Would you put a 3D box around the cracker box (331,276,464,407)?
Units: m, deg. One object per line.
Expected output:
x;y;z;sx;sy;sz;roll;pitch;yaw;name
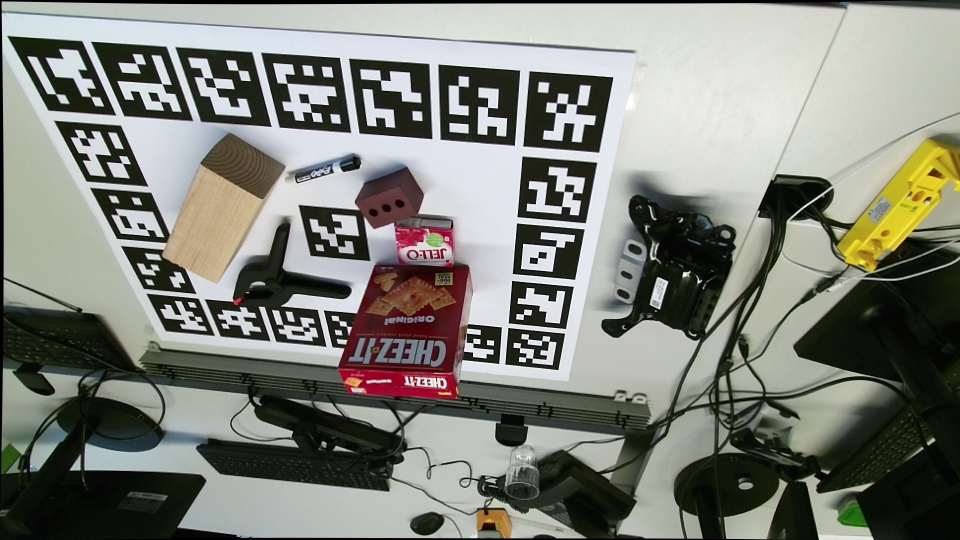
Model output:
-0.120;0.099;0.820;0.165;0.213;0.072;3;129;7;cracker box

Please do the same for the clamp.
-0.351;0.026;0.908;0.203;0.036;0.165;-21;122;21;clamp

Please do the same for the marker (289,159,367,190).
-0.219;-0.138;0.774;0.121;0.019;0.019;-12;124;15;marker

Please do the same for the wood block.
-0.386;-0.081;0.799;0.090;0.090;0.206;32;127;-20;wood block

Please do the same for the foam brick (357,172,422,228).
-0.132;-0.098;0.777;0.078;0.051;0.053;-16;122;17;foam brick

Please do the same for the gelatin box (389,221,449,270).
-0.093;-0.038;0.836;0.090;0.030;0.073;4;126;3;gelatin box
